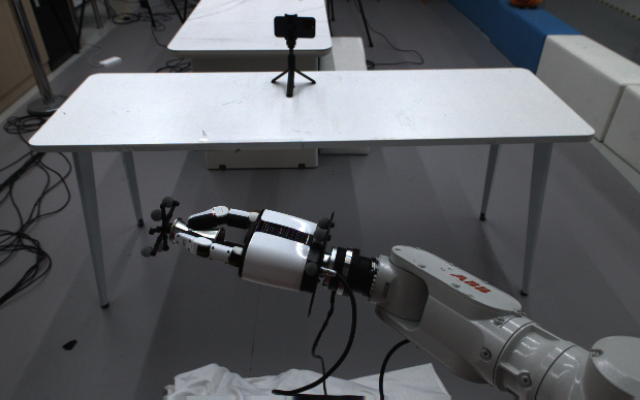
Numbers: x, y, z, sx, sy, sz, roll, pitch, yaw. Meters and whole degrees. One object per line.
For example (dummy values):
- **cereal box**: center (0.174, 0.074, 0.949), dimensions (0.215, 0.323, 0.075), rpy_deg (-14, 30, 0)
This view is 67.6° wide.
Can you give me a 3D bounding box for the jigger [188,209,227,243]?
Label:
- **jigger**: center (-0.172, 0.050, 0.703), dimensions (0.071, 0.043, 0.043), rpy_deg (14, 36, 5)
